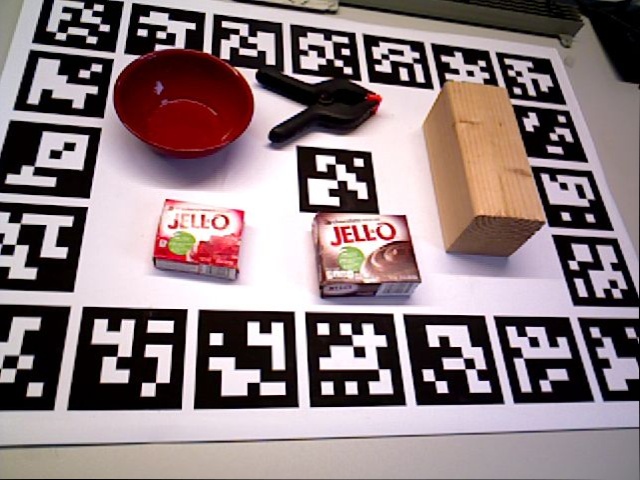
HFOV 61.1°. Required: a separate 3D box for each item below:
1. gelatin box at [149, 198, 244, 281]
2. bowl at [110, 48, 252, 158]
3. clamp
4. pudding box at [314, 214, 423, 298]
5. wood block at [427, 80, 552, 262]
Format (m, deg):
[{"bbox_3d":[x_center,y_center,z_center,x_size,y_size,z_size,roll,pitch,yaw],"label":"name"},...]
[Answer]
[{"bbox_3d":[-0.130,-0.001,0.579,0.089,0.031,0.072,10,62,-8],"label":"gelatin box"},{"bbox_3d":[-0.164,-0.154,0.649,0.160,0.056,0.160,6,63,-12],"label":"bowl"},{"bbox_3d":[-0.013,-0.176,0.711,0.163,0.037,0.121,-6,63,-19],"label":"clamp"},{"bbox_3d":[0.051,0.019,0.610,0.113,0.039,0.089,1,65,-11],"label":"pudding box"},{"bbox_3d":[0.203,-0.087,0.673,0.089,0.093,0.203,5,61,-13],"label":"wood block"}]
